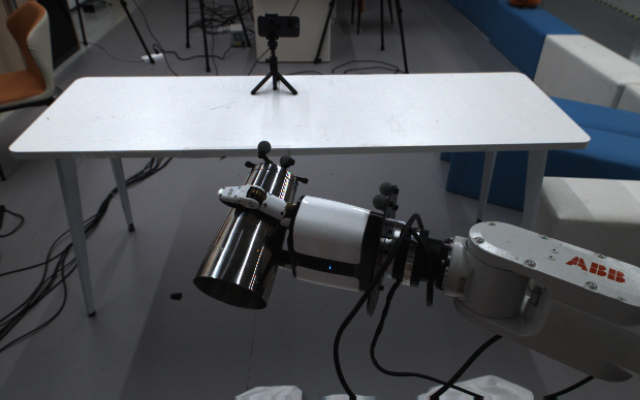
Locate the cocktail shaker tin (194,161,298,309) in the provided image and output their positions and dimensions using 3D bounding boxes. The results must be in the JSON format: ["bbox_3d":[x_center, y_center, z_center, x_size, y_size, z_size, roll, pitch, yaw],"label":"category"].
[{"bbox_3d":[-0.082,0.040,0.606,0.093,0.093,0.170,11,60,12],"label":"cocktail shaker tin"}]
